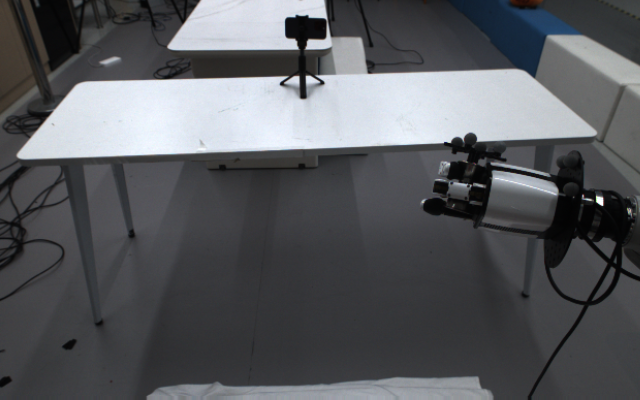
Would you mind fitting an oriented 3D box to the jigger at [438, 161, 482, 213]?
[{"bbox_3d":[0.203,-0.019,0.676,0.043,0.071,0.043,17,2,-1],"label":"jigger"}]
